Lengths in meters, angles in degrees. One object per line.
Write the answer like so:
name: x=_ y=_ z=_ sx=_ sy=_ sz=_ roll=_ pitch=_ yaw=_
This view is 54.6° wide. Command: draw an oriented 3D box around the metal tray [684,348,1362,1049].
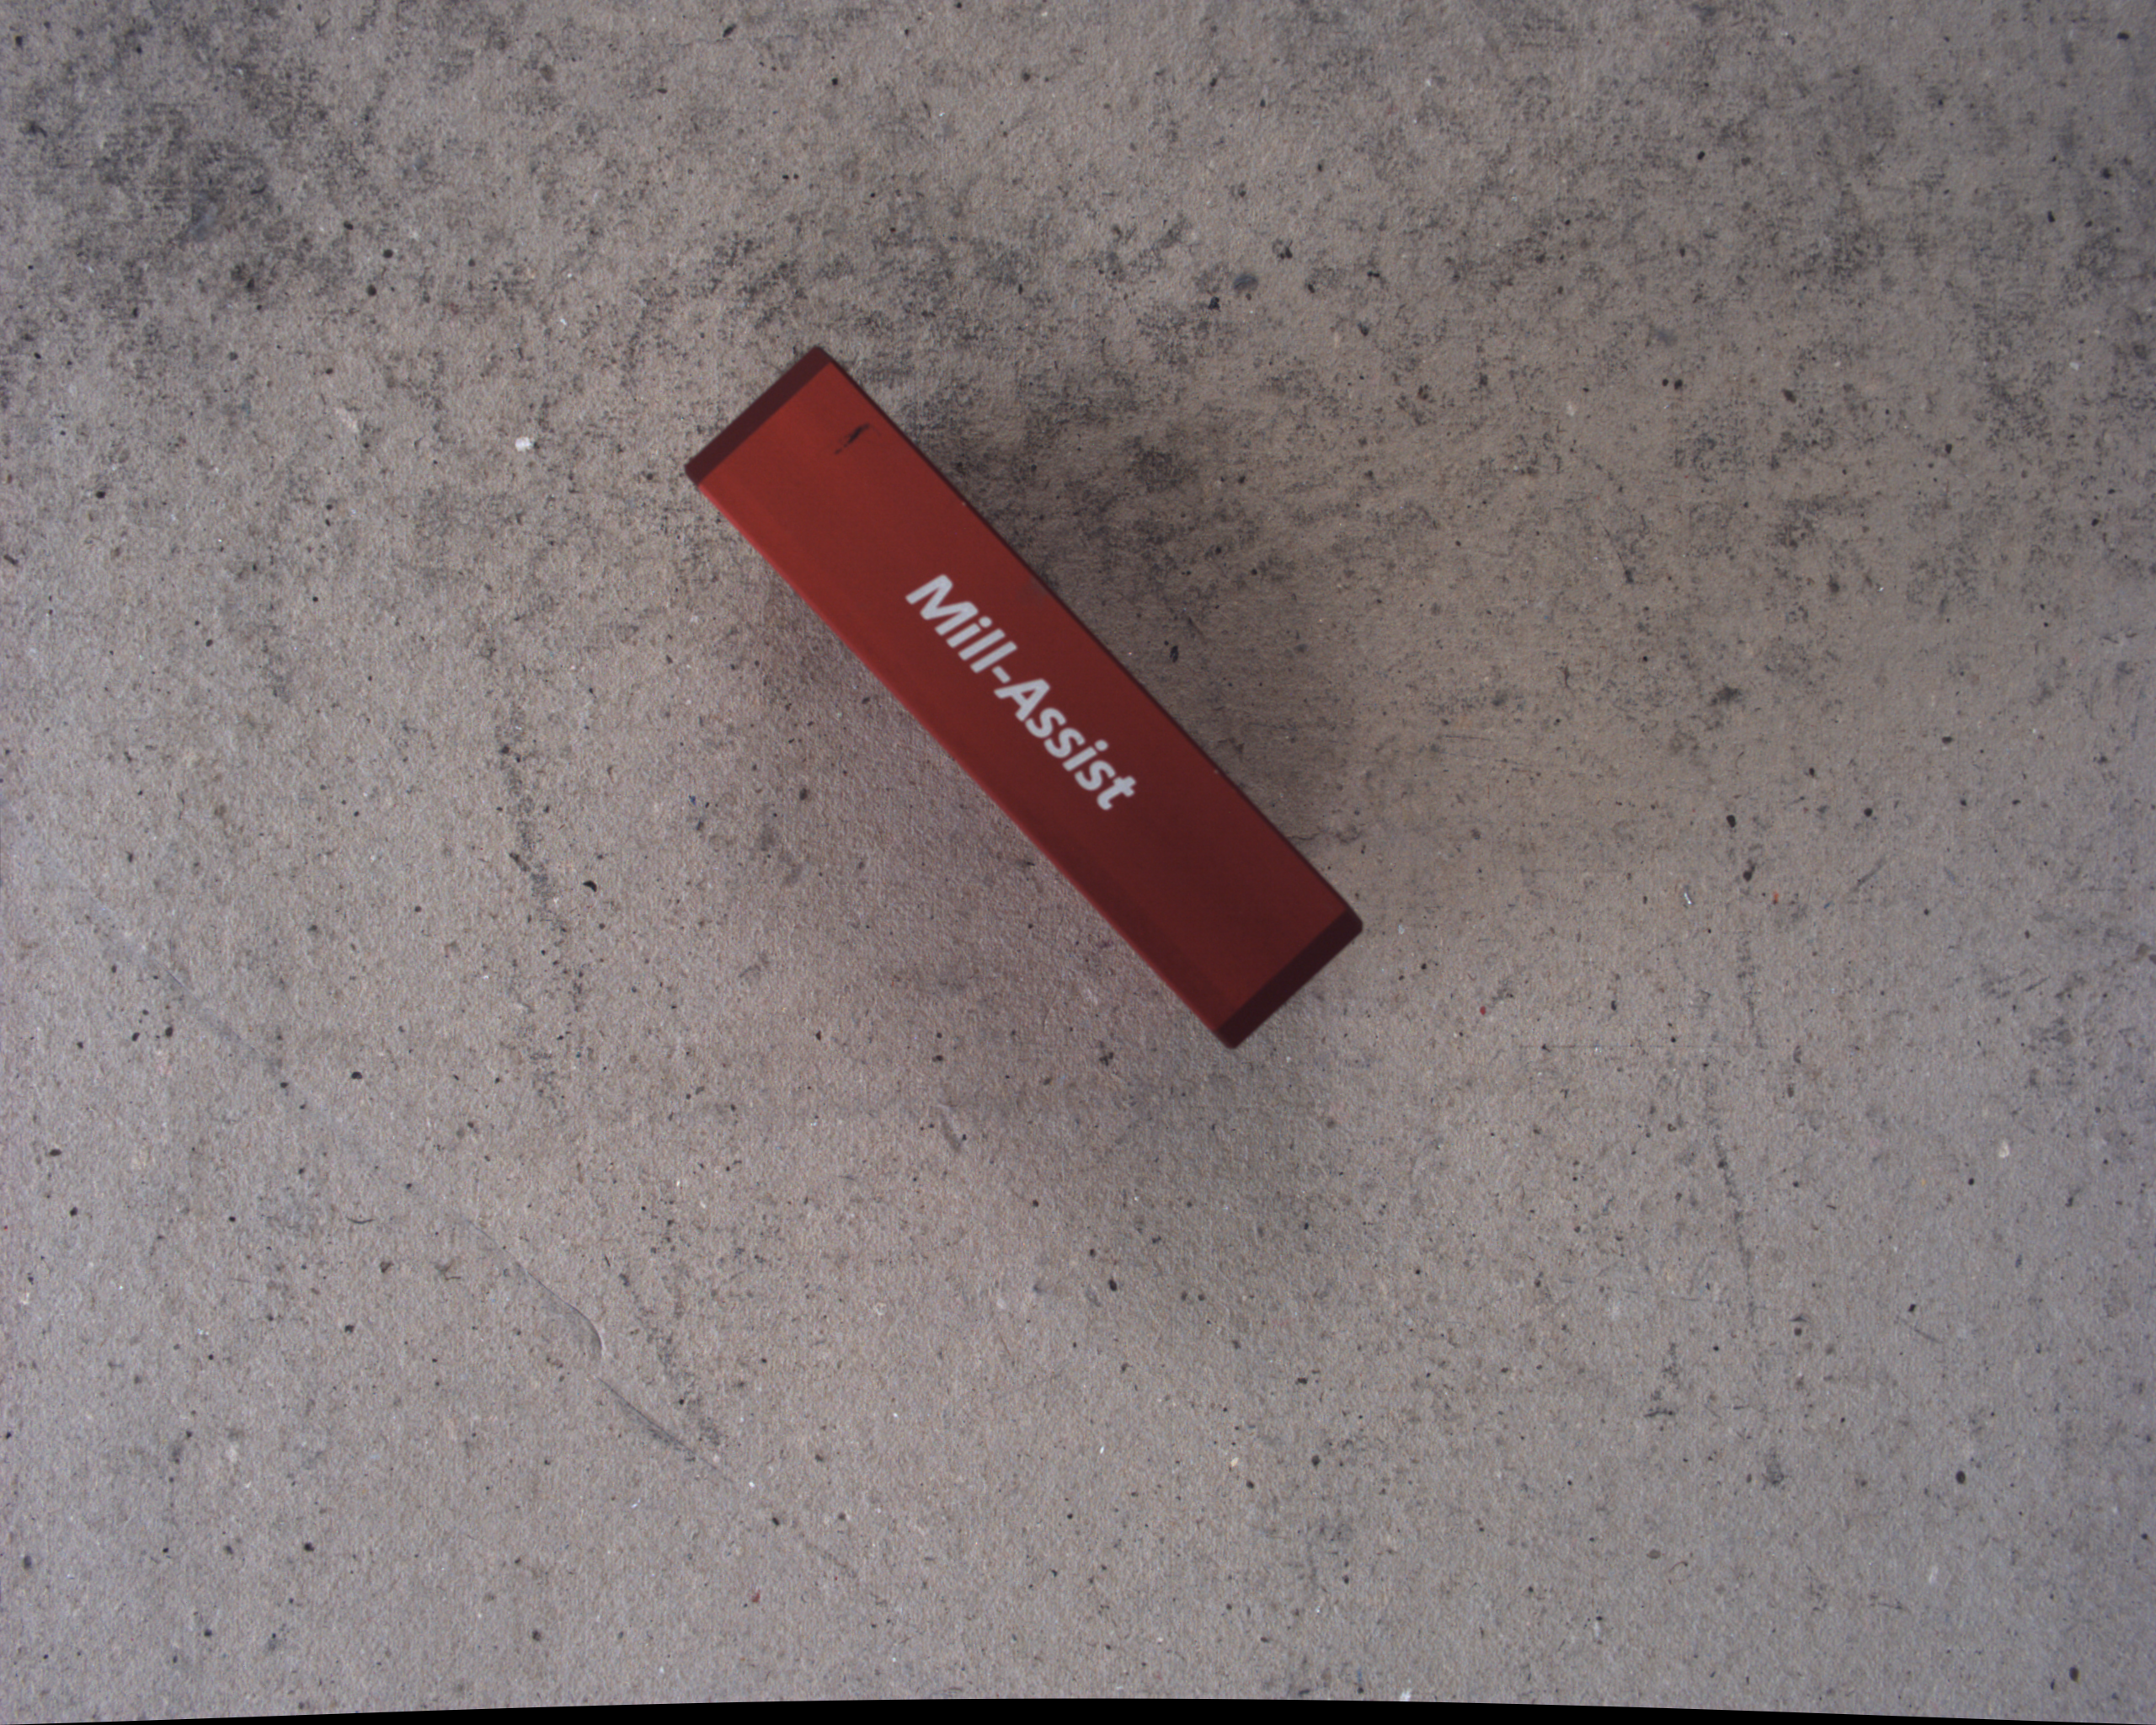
metal tray: x=-0.009 y=-0.027 z=0.378 sx=0.030 sy=0.090 sz=0.130 roll=-43 pitch=91 yaw=0
